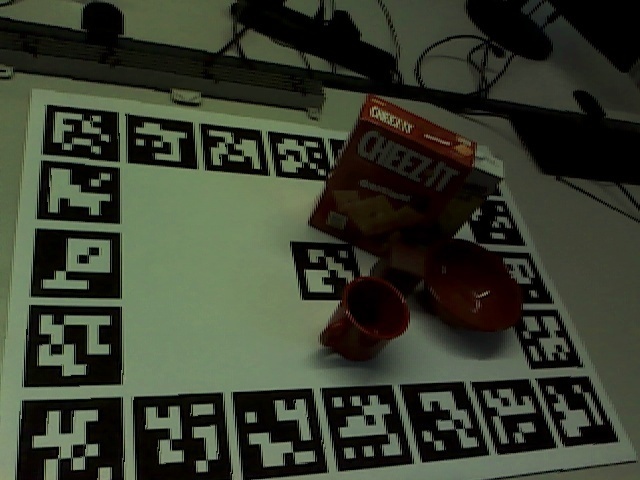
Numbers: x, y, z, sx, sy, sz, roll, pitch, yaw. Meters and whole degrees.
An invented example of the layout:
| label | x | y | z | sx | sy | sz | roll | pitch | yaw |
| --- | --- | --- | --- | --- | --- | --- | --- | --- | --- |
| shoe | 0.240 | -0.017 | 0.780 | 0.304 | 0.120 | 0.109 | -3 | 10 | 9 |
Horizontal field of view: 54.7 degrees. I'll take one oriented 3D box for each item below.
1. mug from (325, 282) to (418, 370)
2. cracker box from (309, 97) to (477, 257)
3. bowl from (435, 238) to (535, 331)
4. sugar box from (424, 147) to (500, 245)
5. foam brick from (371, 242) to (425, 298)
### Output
| label | x | y | z | sx | sy | sz | roll | pitch | yaw |
| --- | --- | --- | --- | --- | --- | --- | --- | --- | --- |
| mug | 0.059 | 0.117 | 0.802 | 0.116 | 0.081 | 0.094 | -8 | 48 | -26 |
| cracker box | 0.098 | -0.074 | 0.893 | 0.164 | 0.214 | 0.072 | 25 | 45 | -3 |
| bowl | 0.233 | 0.076 | 0.918 | 0.161 | 0.055 | 0.162 | 11 | 50 | -14 |
| sugar box | 0.192 | -0.071 | 0.954 | 0.092 | 0.176 | 0.045 | 18 | 48 | -8 |
| foam brick | 0.112 | 0.050 | 0.893 | 0.052 | 0.078 | 0.051 | 13 | 48 | -12 |
